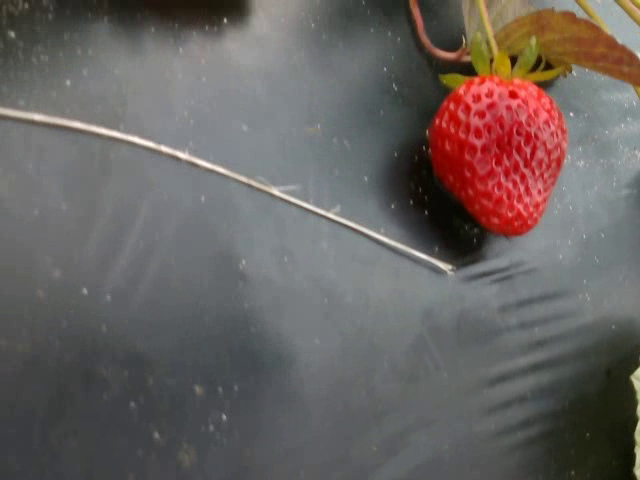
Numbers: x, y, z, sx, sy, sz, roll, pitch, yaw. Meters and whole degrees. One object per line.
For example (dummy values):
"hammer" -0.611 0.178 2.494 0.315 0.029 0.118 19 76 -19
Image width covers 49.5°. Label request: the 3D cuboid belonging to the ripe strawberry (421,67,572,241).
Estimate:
"ripe strawberry" 0.032 -0.015 0.118 0.028 0.033 0.022 17 -23 -24
